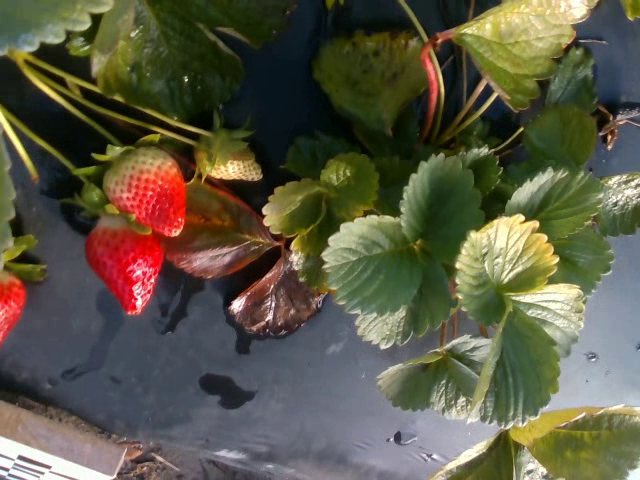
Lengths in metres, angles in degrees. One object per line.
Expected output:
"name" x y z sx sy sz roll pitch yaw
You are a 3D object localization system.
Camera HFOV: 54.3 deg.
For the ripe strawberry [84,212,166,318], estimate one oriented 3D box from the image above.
"ripe strawberry" -0.101 0.016 0.315 0.044 0.055 0.041 -10 -2 38
